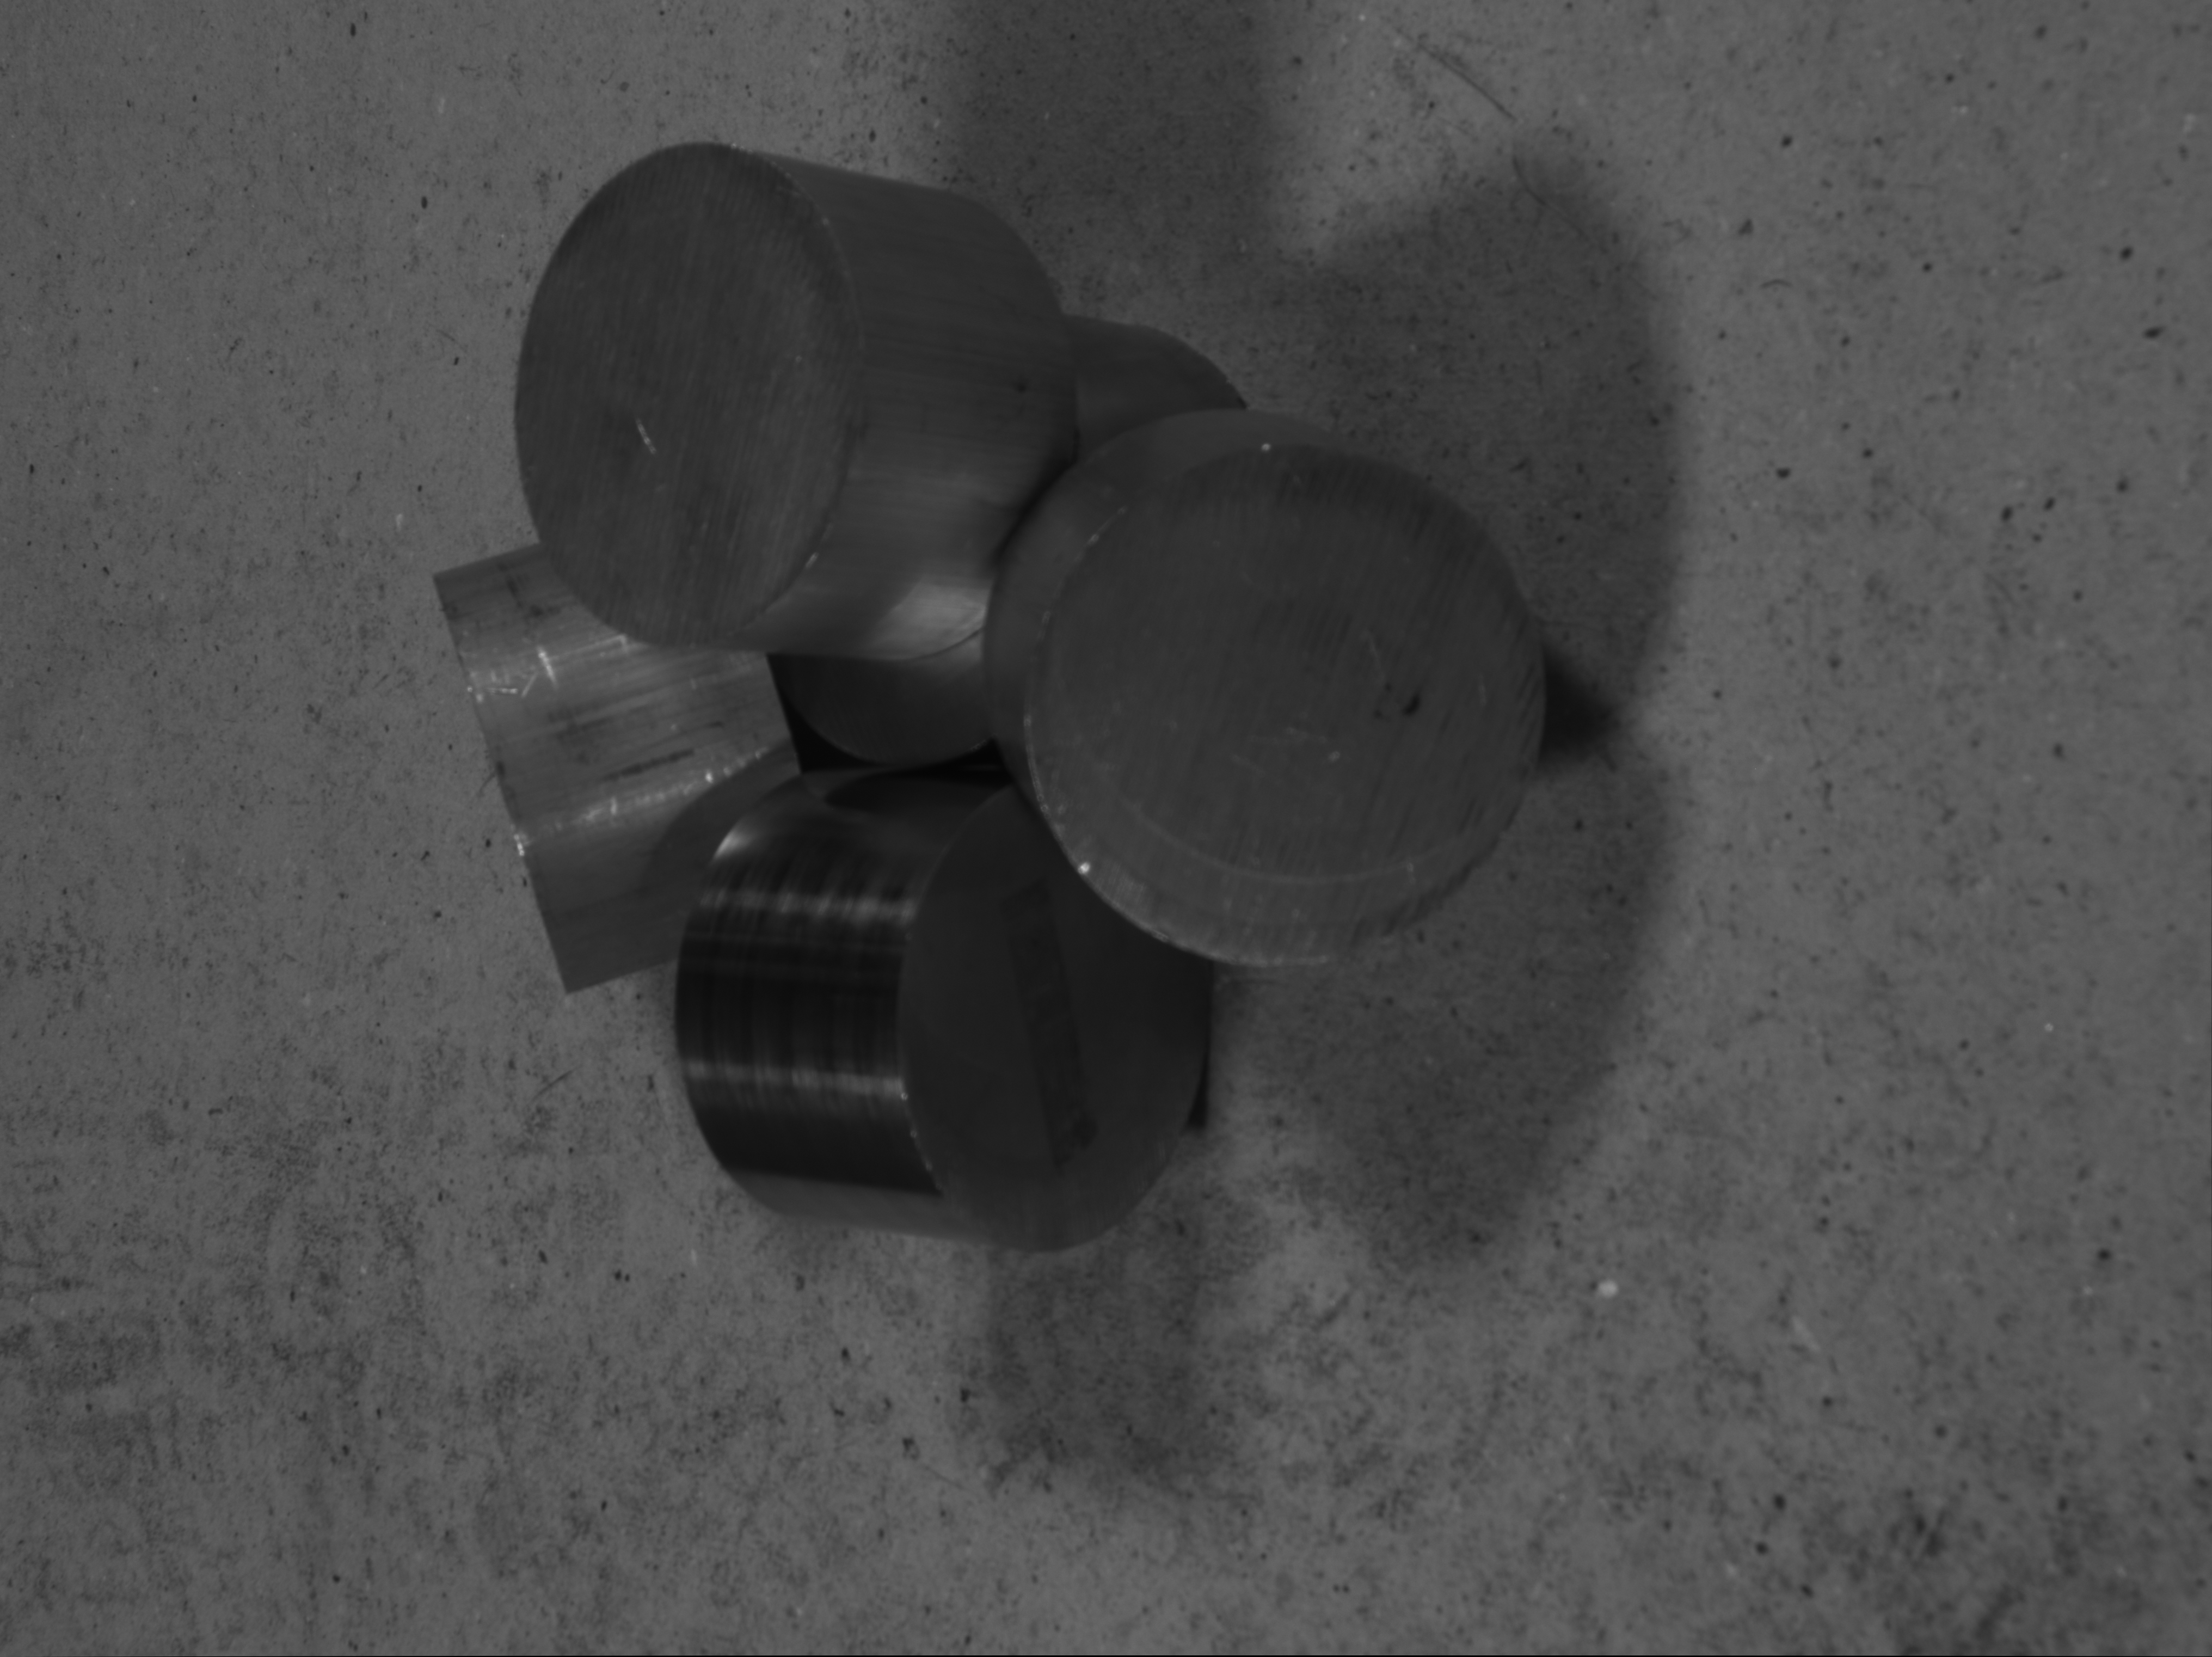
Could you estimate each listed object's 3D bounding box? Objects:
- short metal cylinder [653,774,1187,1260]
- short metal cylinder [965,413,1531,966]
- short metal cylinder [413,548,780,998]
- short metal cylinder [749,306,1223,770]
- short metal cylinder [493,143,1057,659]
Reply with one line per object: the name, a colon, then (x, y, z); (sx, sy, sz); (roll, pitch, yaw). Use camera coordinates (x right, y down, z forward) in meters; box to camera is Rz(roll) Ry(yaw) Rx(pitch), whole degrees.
short metal cylinder: (-0.031, 0.031, 0.625); (0.050, 0.080, 0.080); (2, 91, 39)
short metal cylinder: (0.021, -0.023, 0.576); (0.050, 0.080, 0.080); (-133, 54, -74)
short metal cylinder: (-0.090, -0.015, 0.668); (0.080, 0.050, 0.080); (162, 91, -81)
short metal cylinder: (-0.020, -0.050, 0.637); (0.080, 0.050, 0.080); (0, 90, 39)
short metal cylinder: (-0.055, -0.068, 0.600); (0.080, 0.050, 0.080); (0, 90, 39)
